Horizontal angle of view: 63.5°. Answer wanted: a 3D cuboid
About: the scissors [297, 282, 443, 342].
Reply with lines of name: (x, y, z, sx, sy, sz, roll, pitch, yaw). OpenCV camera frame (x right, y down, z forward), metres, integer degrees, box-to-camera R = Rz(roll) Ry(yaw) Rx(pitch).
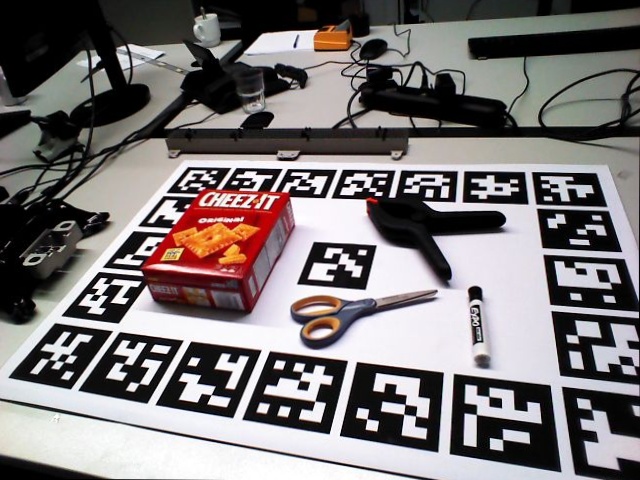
scissors: (0.067, 0.081, 0.683, 0.203, 0.016, 0.087, -14, 35, -9)

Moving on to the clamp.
clamp: (0.159, -0.026, 0.815, 0.203, 0.037, 0.164, 25, 47, 38)

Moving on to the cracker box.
cracker box: (-0.142, 0.005, 0.793, 0.165, 0.072, 0.212, 3, 38, 17)

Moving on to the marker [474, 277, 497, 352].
marker: (0.204, 0.087, 0.640, 0.020, 0.020, 0.120, -1, 36, 13)
